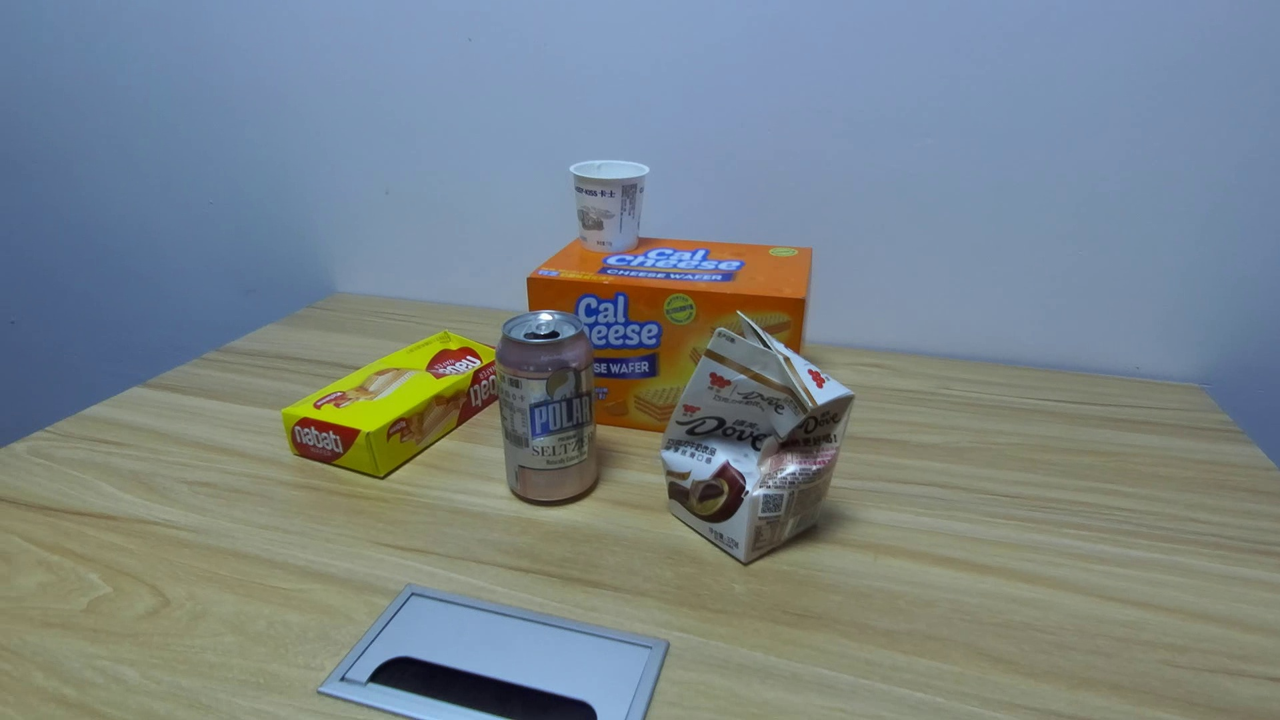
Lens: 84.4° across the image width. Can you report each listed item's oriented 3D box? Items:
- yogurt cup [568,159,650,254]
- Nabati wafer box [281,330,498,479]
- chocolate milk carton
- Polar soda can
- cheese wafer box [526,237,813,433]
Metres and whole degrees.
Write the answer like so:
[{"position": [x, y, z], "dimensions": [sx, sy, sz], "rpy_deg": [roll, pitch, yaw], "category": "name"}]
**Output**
[{"position": [-0.027, -0.135, 0.625], "dimensions": [0.072, 0.068, 0.072], "rpy_deg": [2, 25, -1], "category": "yogurt cup"}, {"position": [-0.192, 0.027, 0.613], "dimensions": [0.096, 0.042, 0.204], "rpy_deg": [9, 25, 25], "category": "Nabati wafer box"}, {"position": [0.072, 0.047, 0.437], "dimensions": [0.077, 0.155, 0.089], "rpy_deg": [-25, 48, -35], "category": "chocolate milk carton"}, {"position": [-0.064, 0.033, 0.496], "dimensions": [0.067, 0.125, 0.067], "rpy_deg": [-1, 24, 1], "category": "Polar soda can"}, {"position": [0.033, -0.026, 0.618], "dimensions": [0.221, 0.129, 0.148], "rpy_deg": [6, 25, 13], "category": "cheese wafer box"}]
